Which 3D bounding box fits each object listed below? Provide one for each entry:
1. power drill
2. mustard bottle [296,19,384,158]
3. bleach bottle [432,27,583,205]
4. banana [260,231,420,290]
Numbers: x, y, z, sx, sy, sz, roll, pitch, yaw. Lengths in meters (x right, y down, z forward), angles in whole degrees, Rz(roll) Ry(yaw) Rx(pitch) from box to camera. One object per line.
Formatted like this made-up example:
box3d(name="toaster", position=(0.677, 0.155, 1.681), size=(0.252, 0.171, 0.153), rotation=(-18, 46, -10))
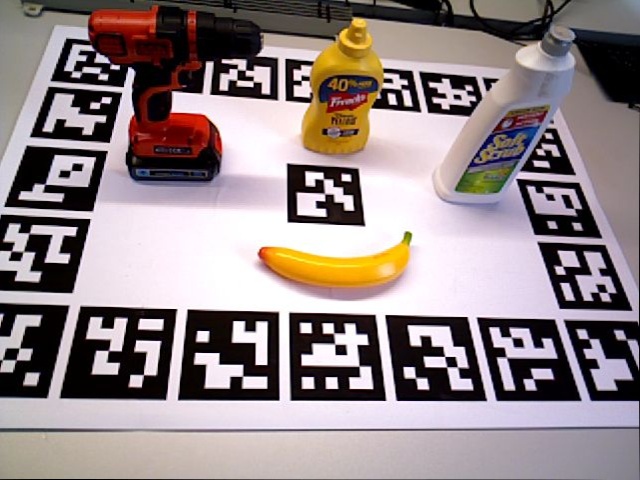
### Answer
box3d(name="power drill", position=(-0.147, -0.177, 0.614), size=(0.183, 0.191, 0.056), rotation=(-4, 57, -9))
box3d(name="mustard bottle", position=(0.030, -0.190, 0.692), size=(0.095, 0.196, 0.058), rotation=(-3, 57, -15))
box3d(name="bleach bottle", position=(0.226, -0.148, 0.659), size=(0.102, 0.256, 0.067), rotation=(9, 54, -5))
box3d(name="banana", position=(0.029, 0.023, 0.630), size=(0.195, 0.039, 0.073), rotation=(-4, 59, -9))
